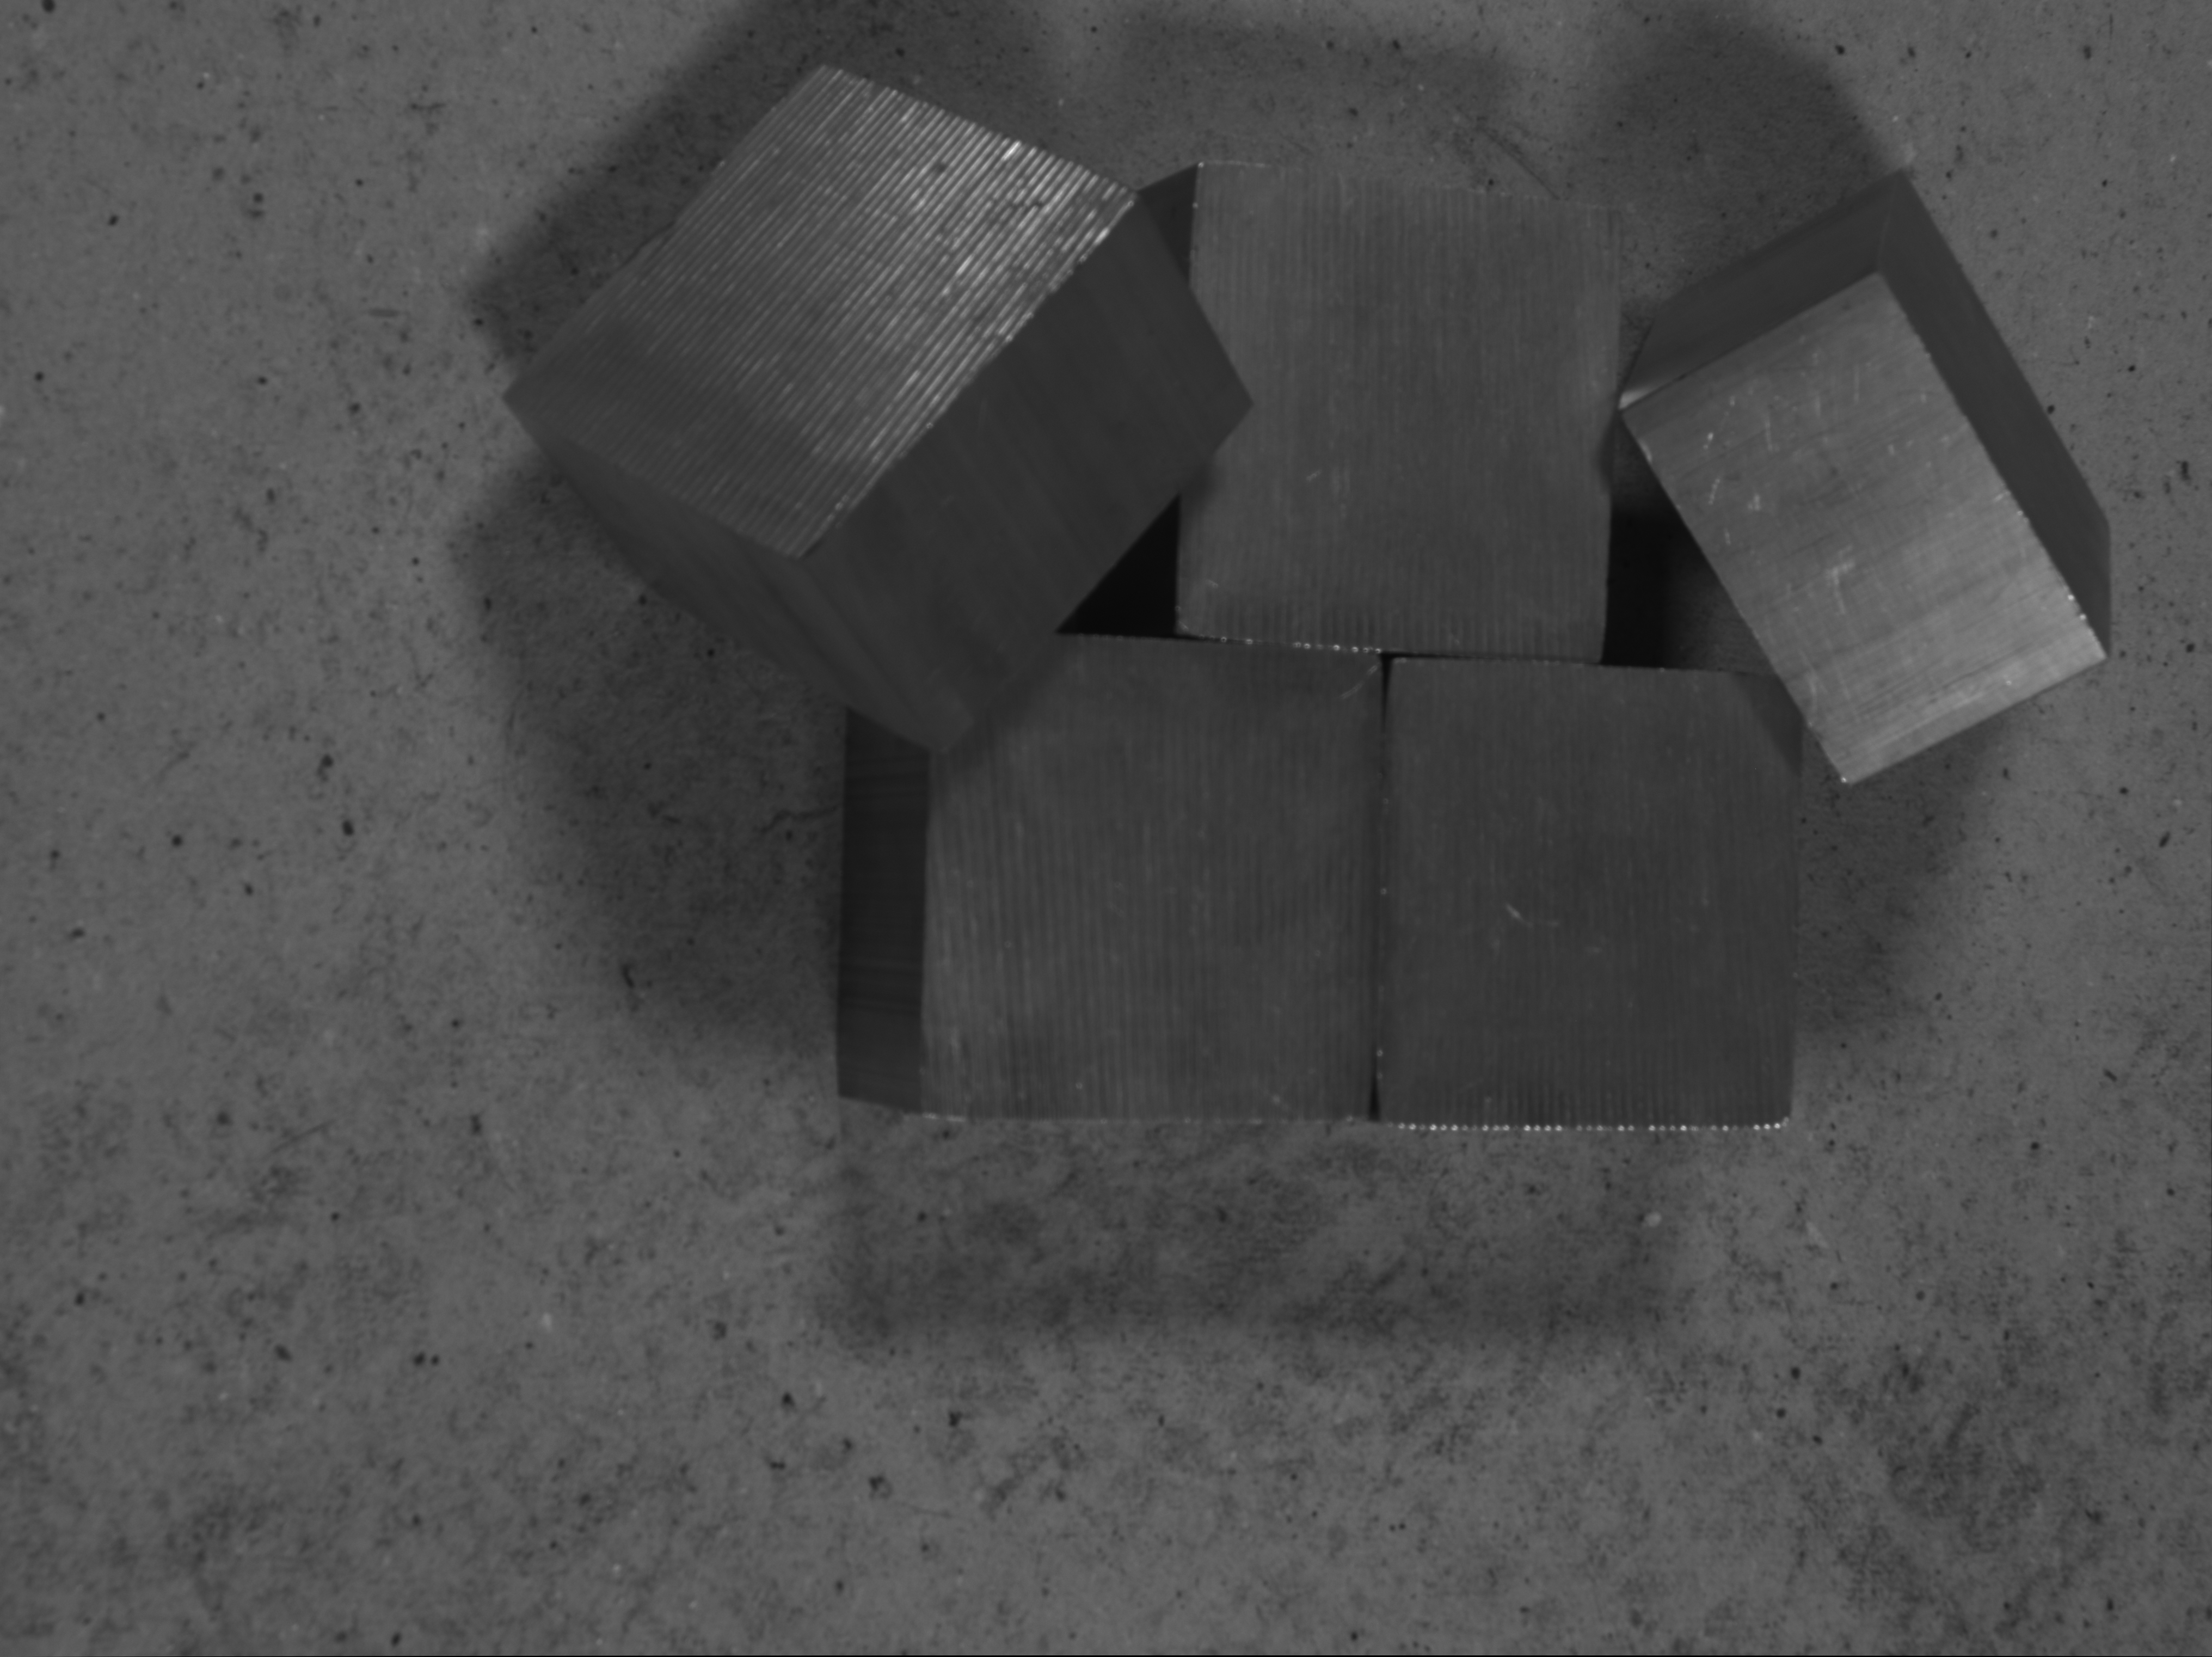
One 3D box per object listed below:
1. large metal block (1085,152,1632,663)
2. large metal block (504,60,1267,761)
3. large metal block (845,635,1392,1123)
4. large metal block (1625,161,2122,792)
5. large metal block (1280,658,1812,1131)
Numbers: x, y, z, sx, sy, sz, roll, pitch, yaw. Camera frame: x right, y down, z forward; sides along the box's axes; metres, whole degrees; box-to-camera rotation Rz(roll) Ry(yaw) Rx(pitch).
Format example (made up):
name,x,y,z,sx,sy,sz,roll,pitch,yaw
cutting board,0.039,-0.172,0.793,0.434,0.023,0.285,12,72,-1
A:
name,x,y,z,sx,sy,sz,roll,pitch,yaw
large metal block,0.044,-0.071,0.646,0.080,0.050,0.080,3,89,-20
large metal block,-0.036,-0.069,0.594,0.080,0.080,0.050,-49,139,-13
large metal block,0.001,0.009,0.630,0.080,0.050,0.080,2,89,-20
large metal block,0.140,-0.065,0.659,0.050,0.080,0.080,-28,102,24
large metal block,0.078,0.012,0.656,0.080,0.050,0.080,2,89,-20
